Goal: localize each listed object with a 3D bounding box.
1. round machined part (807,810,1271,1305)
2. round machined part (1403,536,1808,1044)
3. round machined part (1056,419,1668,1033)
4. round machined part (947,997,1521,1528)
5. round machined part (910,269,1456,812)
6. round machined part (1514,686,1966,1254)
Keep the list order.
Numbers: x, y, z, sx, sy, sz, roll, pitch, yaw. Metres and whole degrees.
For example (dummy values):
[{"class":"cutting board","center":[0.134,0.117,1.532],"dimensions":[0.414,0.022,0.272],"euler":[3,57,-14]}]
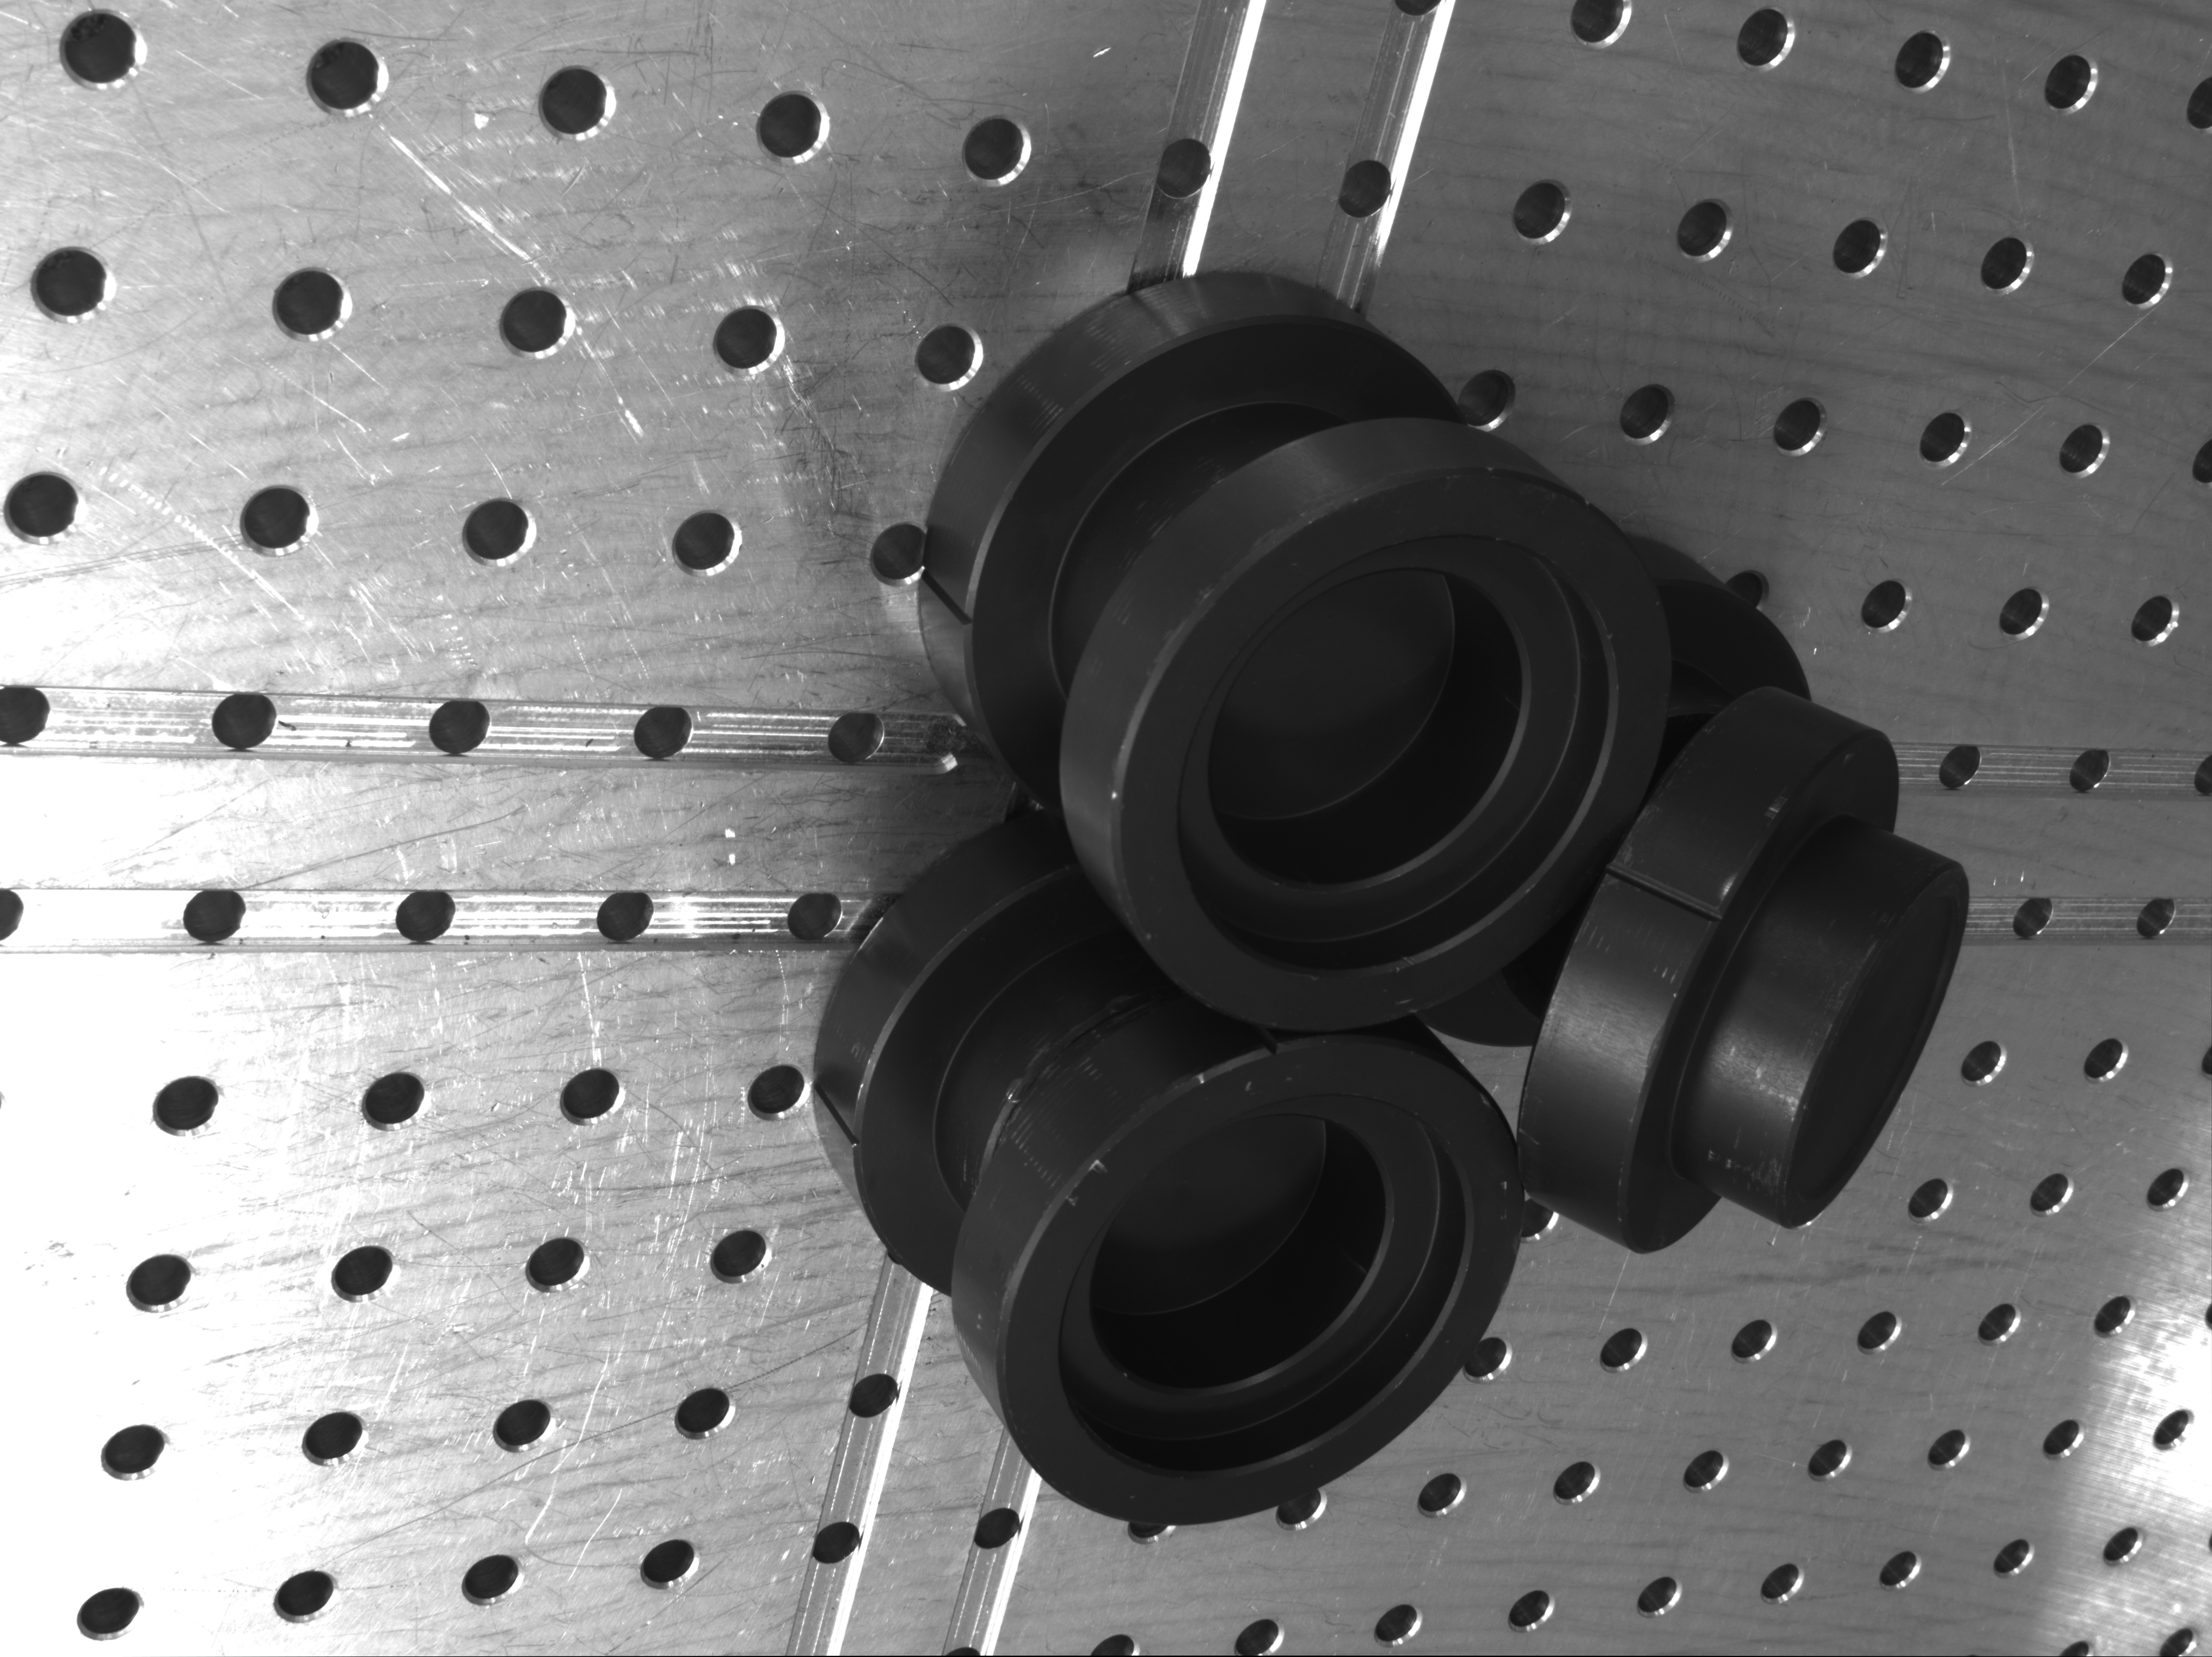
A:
[{"class":"round machined part","center":[0.000,0.047,0.659],"dimensions":[0.098,0.042,0.098],"euler":[-13,124,-21]},{"class":"round machined part","center":[0.089,-0.002,0.677],"dimensions":[0.098,0.042,0.098],"euler":[-13,124,-21]},{"class":"round machined part","center":[0.037,-0.020,0.583],"dimensions":[0.098,0.042,0.098],"euler":[-13,124,-21]},{"class":"round machined part","center":[0.018,0.067,0.626],"dimensions":[0.098,0.042,0.098],"euler":[-13,124,-21]},{"class":"round machined part","center":[0.020,-0.040,0.617],"dimensions":[0.098,0.042,0.098],"euler":[-13,124,-21]},{"class":"round machined part","center":[0.112,0.029,0.626],"dimensions":[0.098,0.042,0.098],"euler":[-45,149,-36]}]
